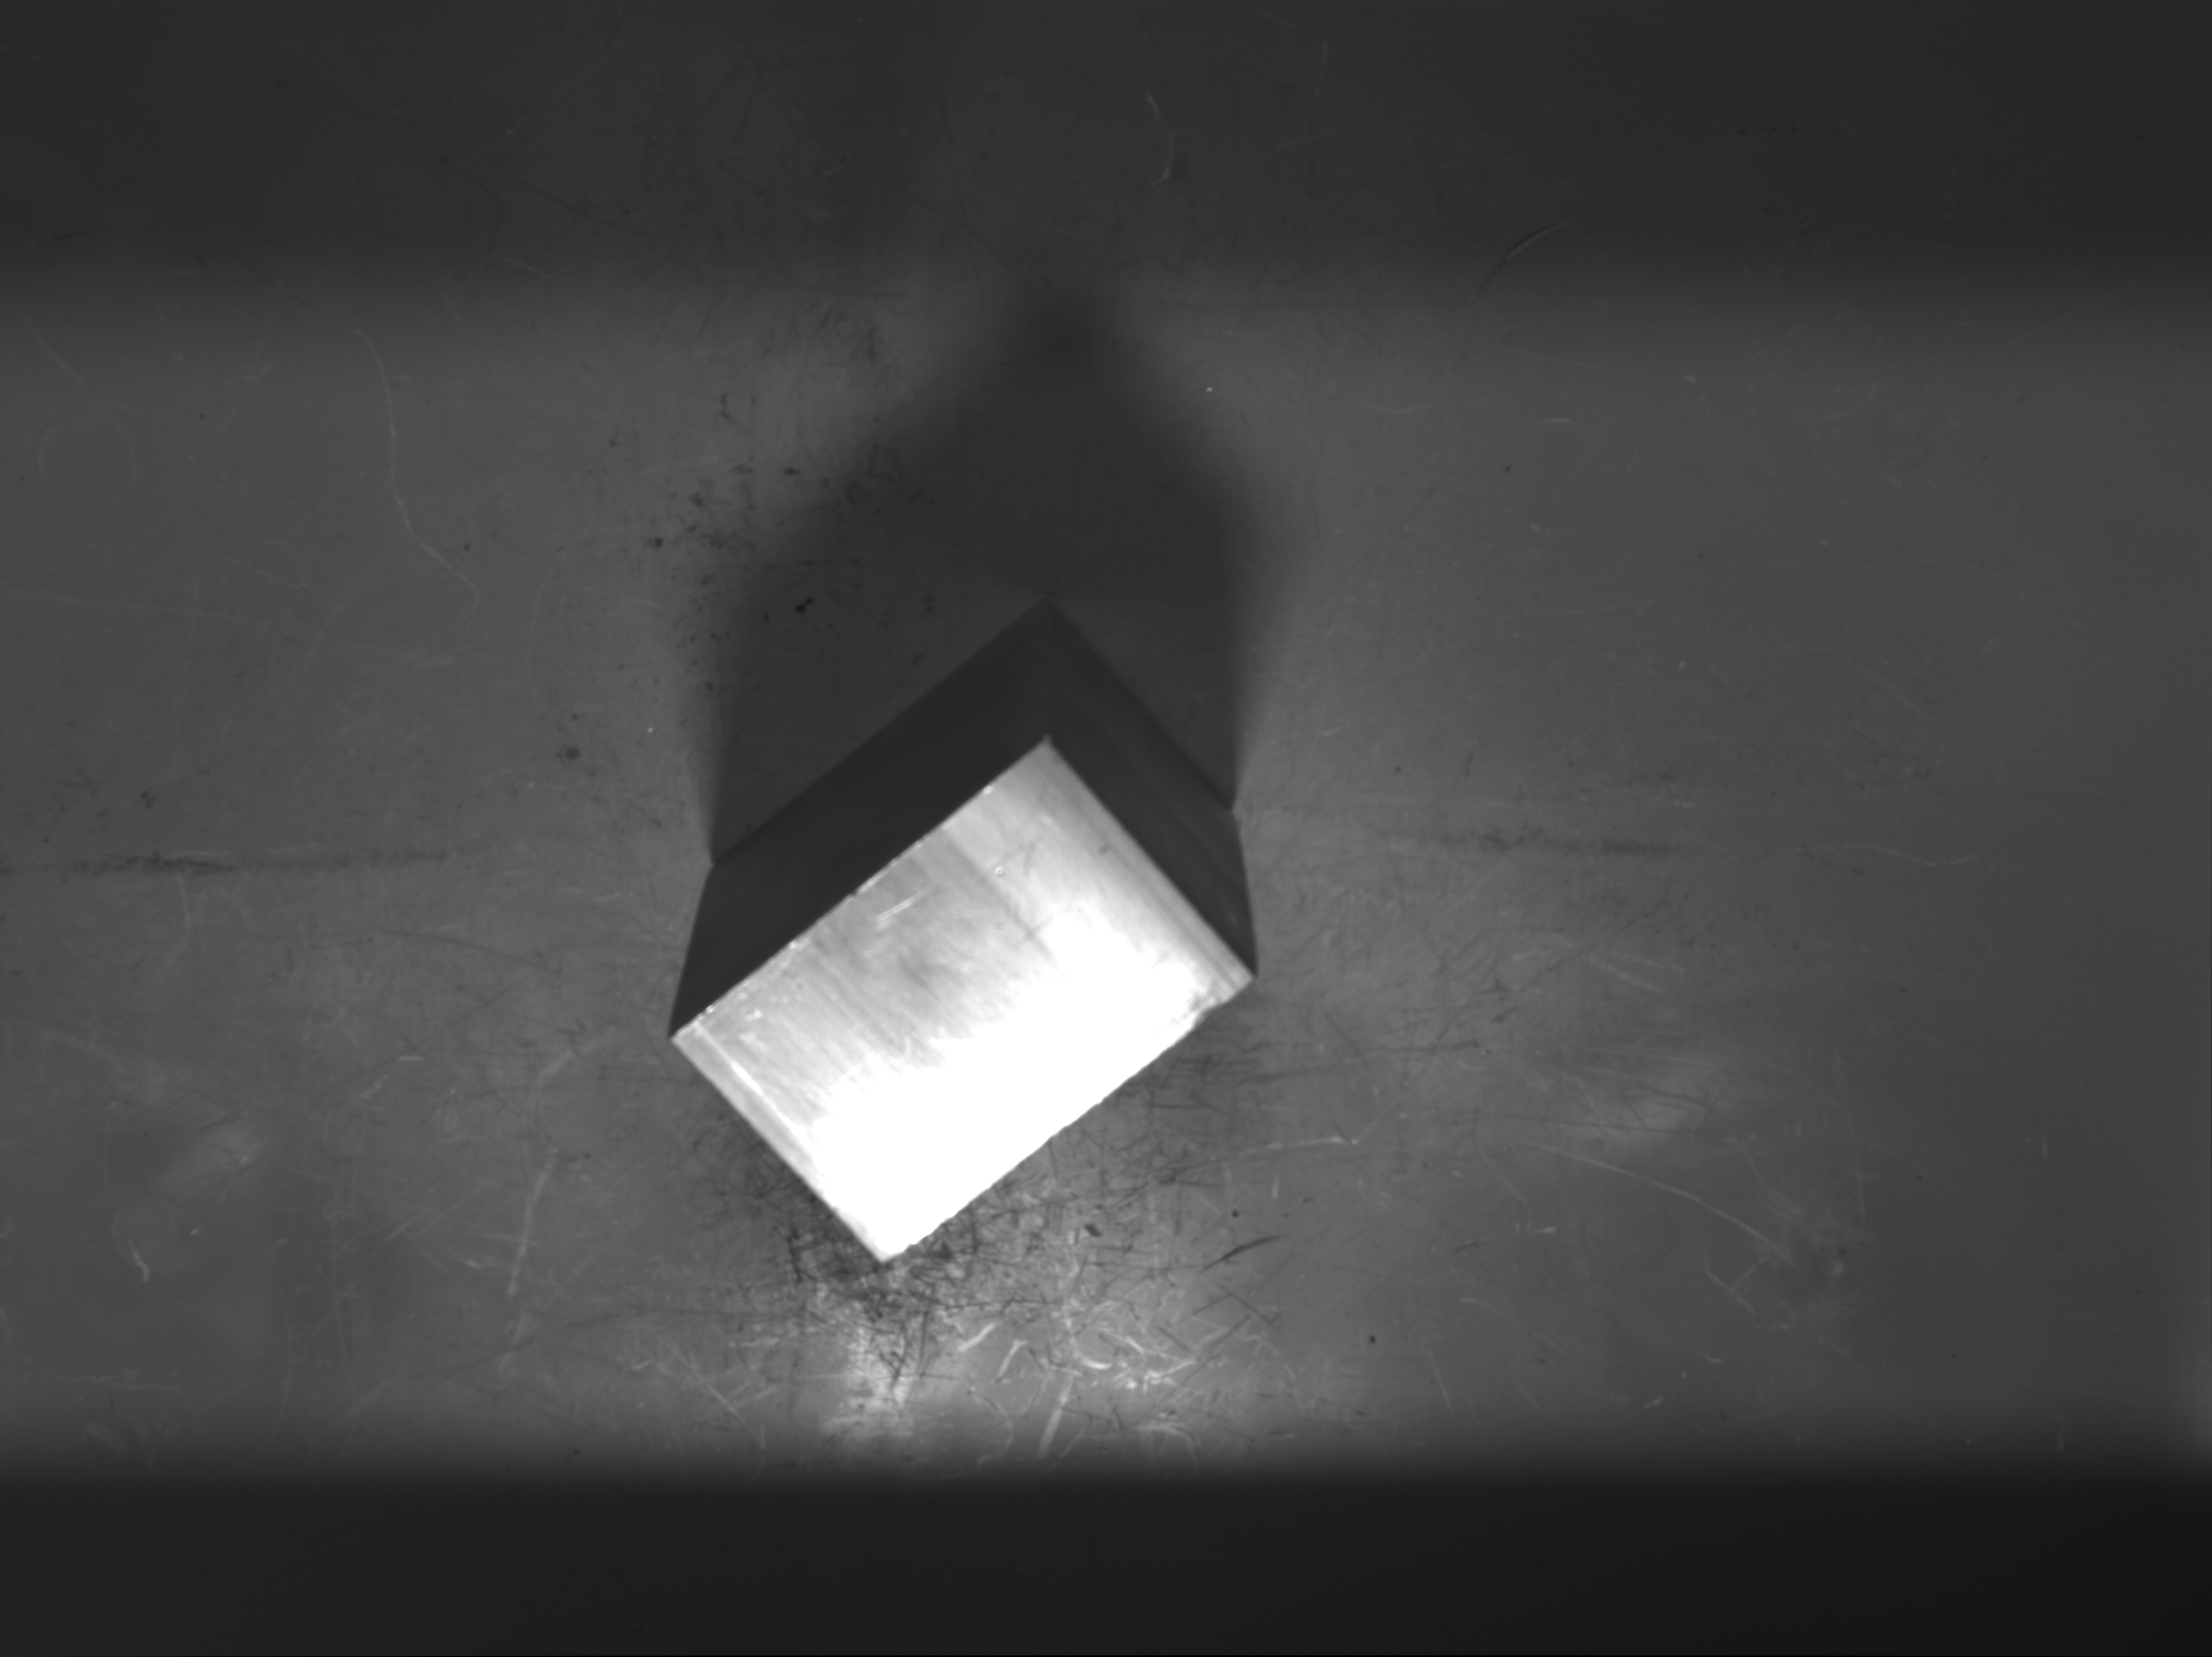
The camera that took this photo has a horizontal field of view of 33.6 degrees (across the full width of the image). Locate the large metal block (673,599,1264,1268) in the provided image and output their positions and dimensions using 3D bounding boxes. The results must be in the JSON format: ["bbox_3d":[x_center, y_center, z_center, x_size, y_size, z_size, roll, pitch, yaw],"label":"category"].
[{"bbox_3d":[-0.022,0.016,0.616,0.080,0.080,0.050,-38,106,12],"label":"large metal block"}]
